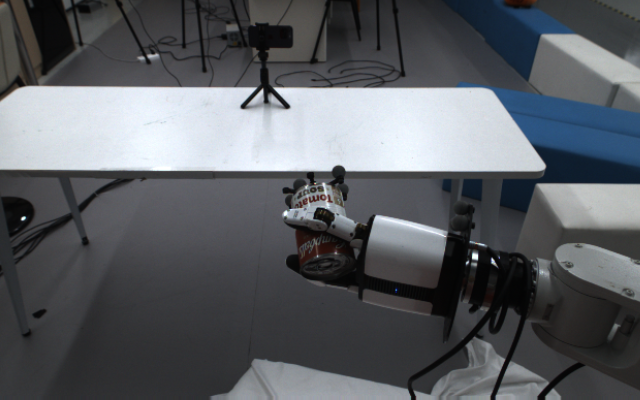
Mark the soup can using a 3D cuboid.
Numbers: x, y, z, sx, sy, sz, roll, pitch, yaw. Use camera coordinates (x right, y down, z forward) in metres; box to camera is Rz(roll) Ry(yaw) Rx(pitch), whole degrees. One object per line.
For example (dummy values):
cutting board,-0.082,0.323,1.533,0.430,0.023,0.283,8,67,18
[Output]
soup can,0.004,0.038,0.589,0.067,0.067,0.101,-5,57,-10
